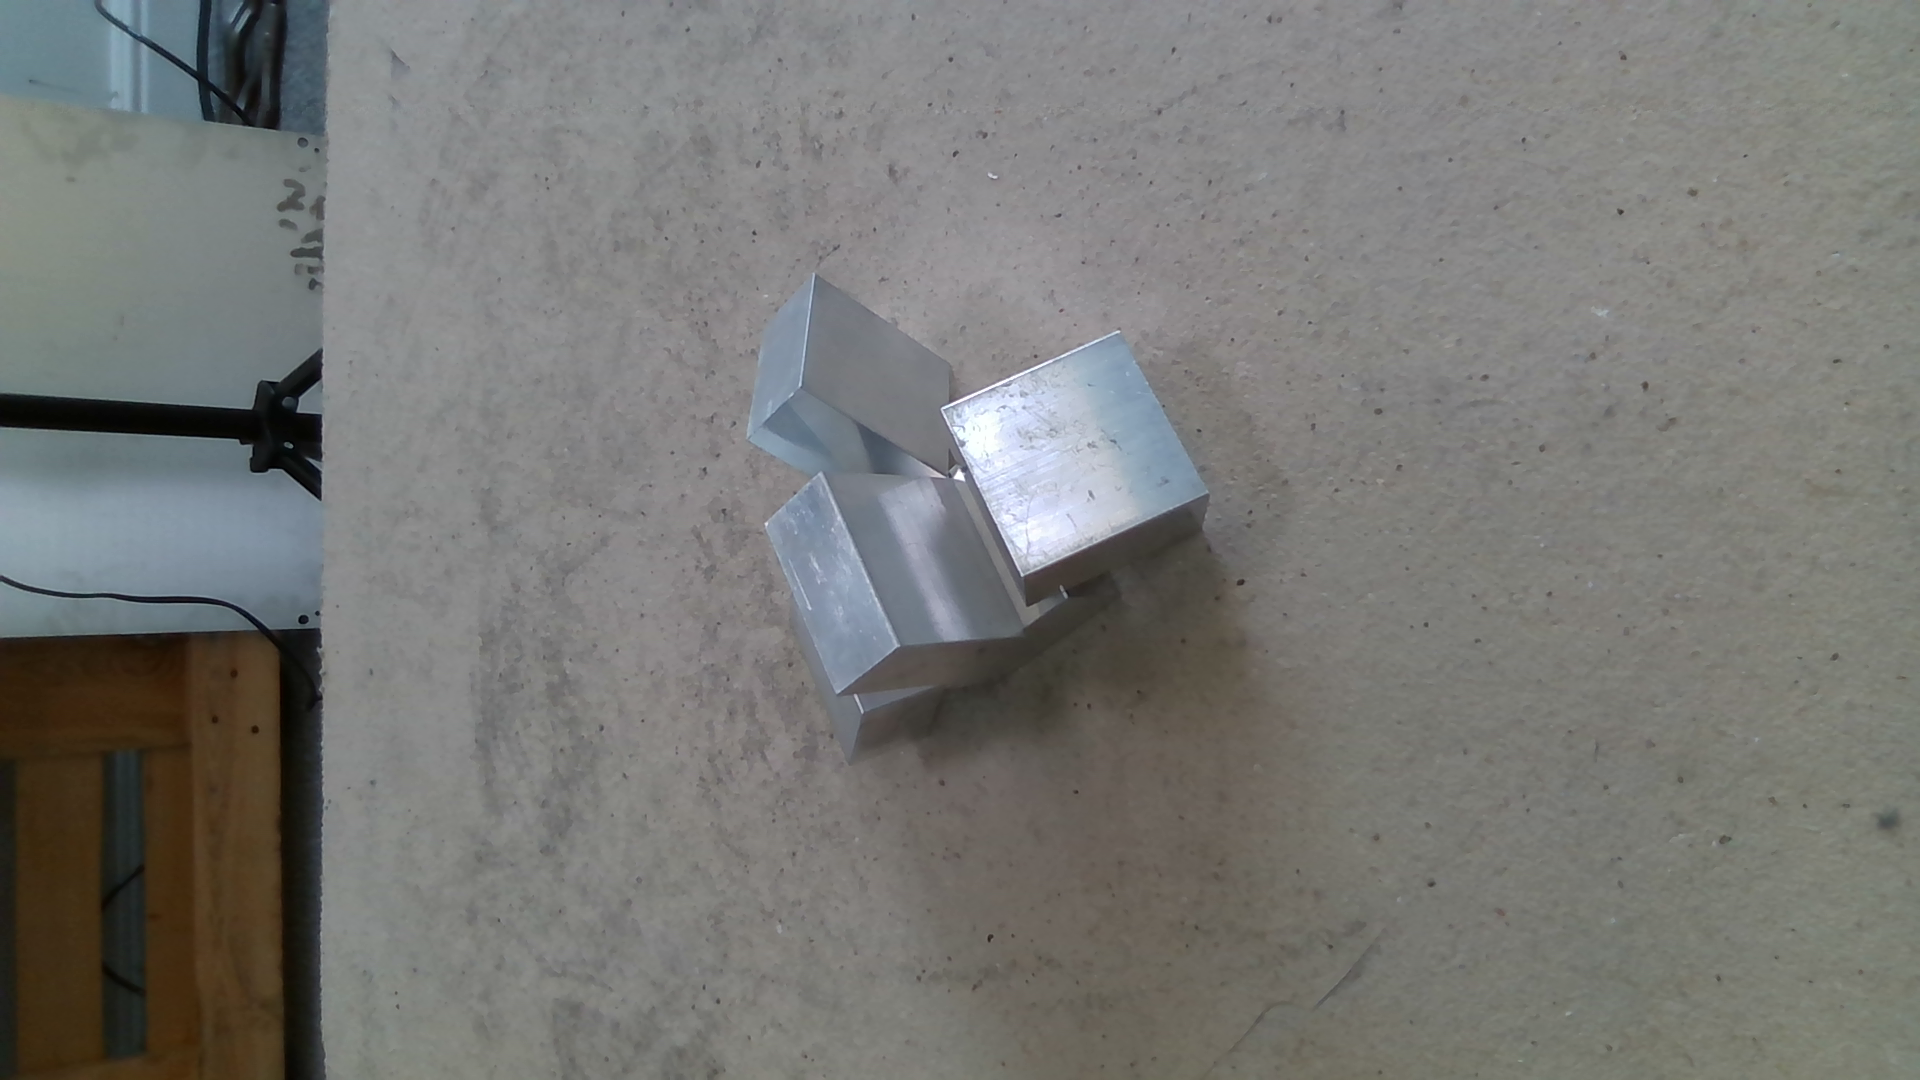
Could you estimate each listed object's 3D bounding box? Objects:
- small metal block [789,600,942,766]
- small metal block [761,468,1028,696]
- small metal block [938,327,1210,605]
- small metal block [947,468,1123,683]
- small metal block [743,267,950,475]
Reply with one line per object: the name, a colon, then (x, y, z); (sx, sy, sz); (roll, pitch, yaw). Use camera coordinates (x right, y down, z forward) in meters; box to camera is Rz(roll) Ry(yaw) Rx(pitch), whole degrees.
small metal block: (-0.029, 0.031, 0.399); (0.050, 0.025, 0.050); (108, 140, -63)
small metal block: (-0.017, 0.010, 0.356); (0.025, 0.050, 0.050); (-39, 66, 34)
small metal block: (0.028, -0.019, 0.350); (0.050, 0.025, 0.050); (-24, 70, -4)
small metal block: (0.010, 0.006, 0.383); (0.050, 0.025, 0.050); (-39, 64, 33)
small metal block: (-0.030, -0.041, 0.388); (0.025, 0.050, 0.050); (-39, 34, 34)
